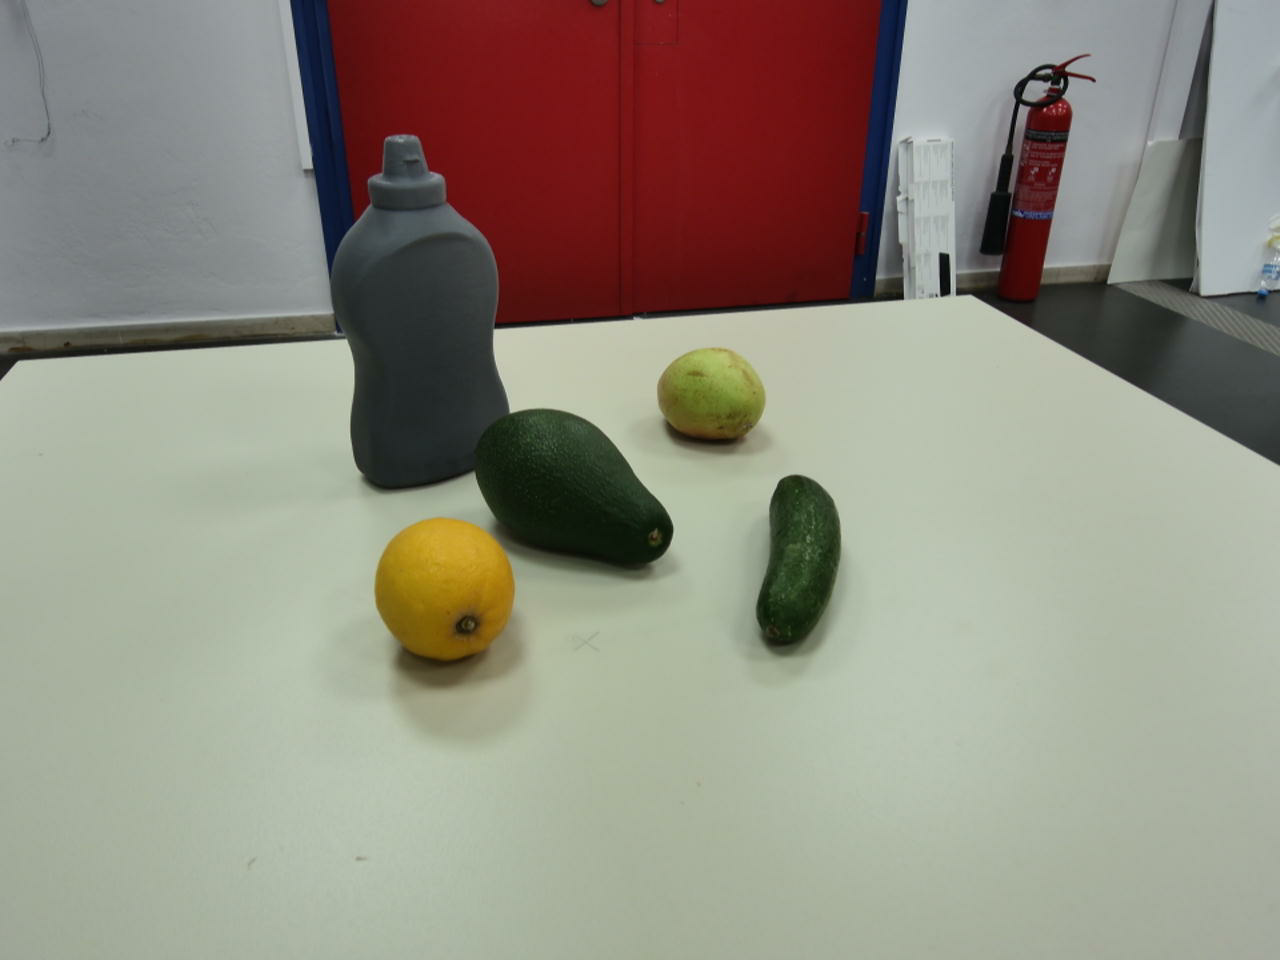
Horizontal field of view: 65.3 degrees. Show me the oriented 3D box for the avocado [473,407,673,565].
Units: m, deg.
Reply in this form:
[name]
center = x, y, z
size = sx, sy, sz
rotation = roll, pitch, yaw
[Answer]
[avocado]
center = -0.038, 0.003, 0.513
size = 0.072, 0.071, 0.109
rotation = -18, 31, -32
